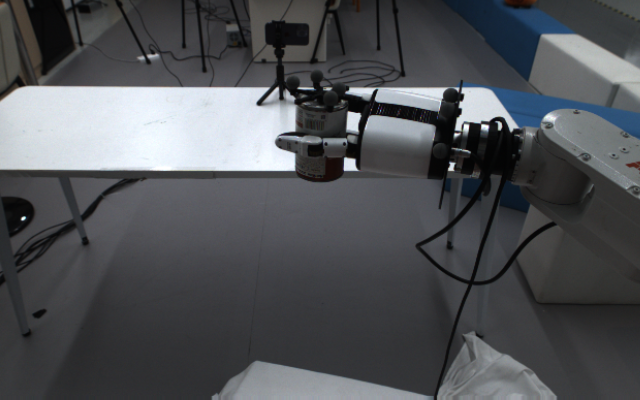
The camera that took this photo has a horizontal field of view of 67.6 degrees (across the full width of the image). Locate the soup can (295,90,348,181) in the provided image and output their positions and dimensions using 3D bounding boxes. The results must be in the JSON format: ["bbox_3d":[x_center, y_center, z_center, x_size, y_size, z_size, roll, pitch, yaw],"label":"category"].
[{"bbox_3d":[0.001,-0.083,0.630,0.067,0.101,0.067,2,32,-1],"label":"soup can"}]
